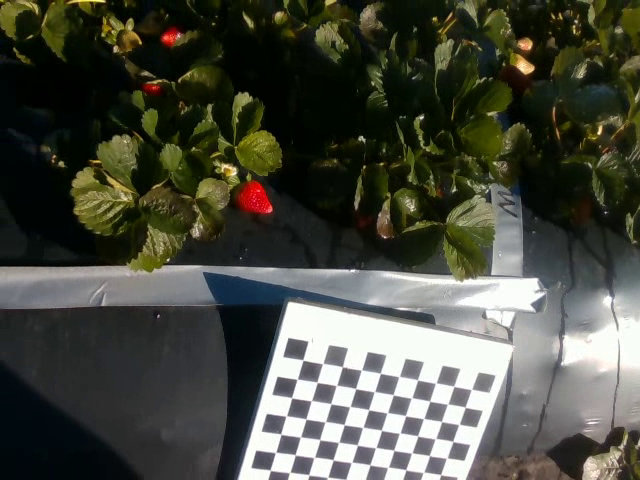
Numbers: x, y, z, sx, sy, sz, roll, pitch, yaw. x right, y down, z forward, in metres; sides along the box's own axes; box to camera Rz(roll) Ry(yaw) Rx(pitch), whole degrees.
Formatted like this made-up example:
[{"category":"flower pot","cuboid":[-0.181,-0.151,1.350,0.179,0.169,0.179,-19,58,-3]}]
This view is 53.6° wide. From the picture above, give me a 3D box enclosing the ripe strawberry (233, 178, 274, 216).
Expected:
[{"category":"ripe strawberry","cuboid":[-0.078,-0.048,0.739,0.058,0.046,0.042,41,2,-1]}]
